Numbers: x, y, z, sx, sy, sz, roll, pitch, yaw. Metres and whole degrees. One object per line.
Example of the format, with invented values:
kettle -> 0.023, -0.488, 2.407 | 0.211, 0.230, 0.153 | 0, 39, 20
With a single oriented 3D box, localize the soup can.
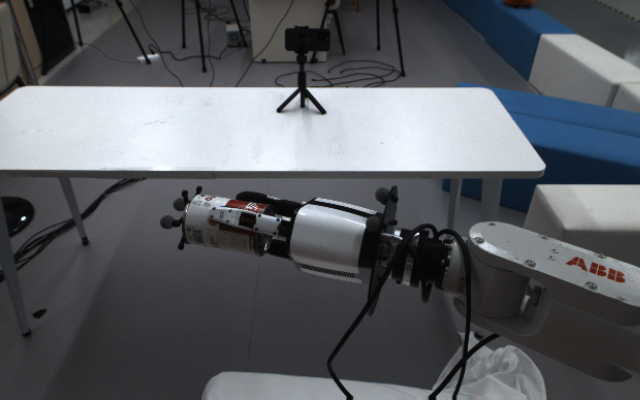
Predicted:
soup can -> -0.114, 0.032, 0.625 | 0.101, 0.067, 0.067 | 8, 35, 11
